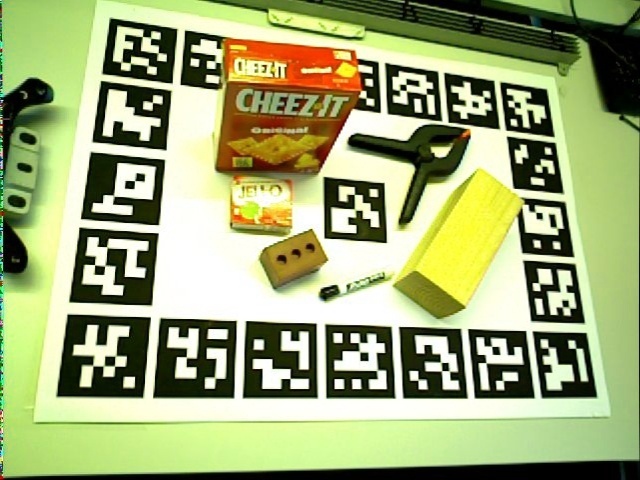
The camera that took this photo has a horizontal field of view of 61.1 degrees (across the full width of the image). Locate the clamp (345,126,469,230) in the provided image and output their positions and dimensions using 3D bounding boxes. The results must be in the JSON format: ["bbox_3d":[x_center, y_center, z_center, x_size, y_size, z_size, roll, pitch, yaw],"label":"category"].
[{"bbox_3d":[0.161,-0.126,0.850,0.199,0.037,0.165,-28,83,-20],"label":"clamp"}]

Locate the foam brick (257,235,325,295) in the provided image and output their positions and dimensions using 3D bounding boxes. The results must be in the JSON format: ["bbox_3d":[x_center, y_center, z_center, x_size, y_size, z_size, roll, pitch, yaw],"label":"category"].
[{"bbox_3d":[-0.040,0.034,0.744,0.077,0.052,0.053,-22,81,-19],"label":"foam brick"}]

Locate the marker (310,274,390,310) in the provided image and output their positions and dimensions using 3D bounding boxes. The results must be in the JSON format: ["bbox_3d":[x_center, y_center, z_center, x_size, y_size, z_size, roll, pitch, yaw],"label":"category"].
[{"bbox_3d":[0.042,0.074,0.769,0.119,0.020,0.019,-17,80,-18],"label":"marker"}]

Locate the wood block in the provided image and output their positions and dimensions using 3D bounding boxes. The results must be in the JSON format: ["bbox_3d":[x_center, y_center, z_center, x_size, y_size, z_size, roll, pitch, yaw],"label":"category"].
[{"bbox_3d":[0.205,0.013,0.795,0.090,0.093,0.203,36,66,1],"label":"wood block"}]

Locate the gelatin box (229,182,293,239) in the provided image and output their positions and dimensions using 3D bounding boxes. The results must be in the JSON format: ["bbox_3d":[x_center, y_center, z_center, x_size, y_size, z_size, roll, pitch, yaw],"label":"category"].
[{"bbox_3d":[-0.084,-0.042,0.770,0.088,0.030,0.073,3,75,-13],"label":"gelatin box"}]

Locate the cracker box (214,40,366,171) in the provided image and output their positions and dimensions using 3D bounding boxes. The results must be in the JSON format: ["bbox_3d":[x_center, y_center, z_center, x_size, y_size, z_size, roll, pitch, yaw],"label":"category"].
[{"bbox_3d":[-0.046,-0.168,0.709,0.162,0.217,0.071,1,71,-16],"label":"cracker box"}]
